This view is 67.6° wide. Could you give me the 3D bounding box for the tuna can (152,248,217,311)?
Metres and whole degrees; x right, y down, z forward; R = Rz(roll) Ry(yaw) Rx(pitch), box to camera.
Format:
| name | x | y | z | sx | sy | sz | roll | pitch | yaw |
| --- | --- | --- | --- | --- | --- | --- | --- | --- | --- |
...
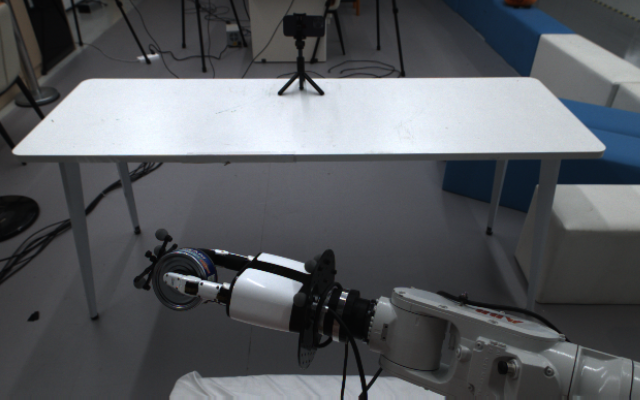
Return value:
| name | x | y | z | sx | sy | sz | roll | pitch | yaw |
| --- | --- | --- | --- | --- | --- | --- | --- | --- | --- |
| tuna can | -0.187 | 0.115 | 0.674 | 0.085 | 0.085 | 0.034 | 10 | 6 | 11 |
